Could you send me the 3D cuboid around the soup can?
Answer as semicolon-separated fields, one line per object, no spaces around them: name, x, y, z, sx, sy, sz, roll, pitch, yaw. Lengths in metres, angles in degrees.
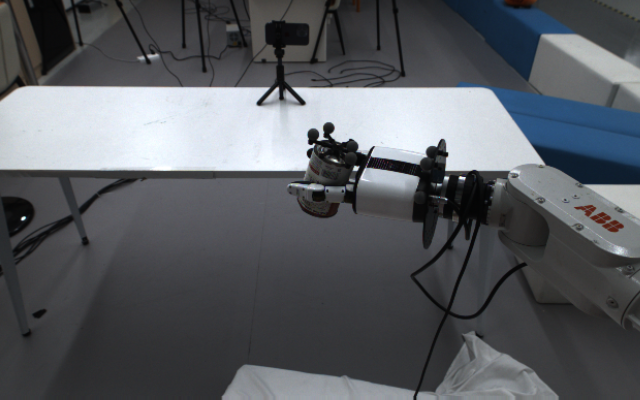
soup can;0.010;-0.031;0.741;0.067;0.101;0.067;13;35;-9
